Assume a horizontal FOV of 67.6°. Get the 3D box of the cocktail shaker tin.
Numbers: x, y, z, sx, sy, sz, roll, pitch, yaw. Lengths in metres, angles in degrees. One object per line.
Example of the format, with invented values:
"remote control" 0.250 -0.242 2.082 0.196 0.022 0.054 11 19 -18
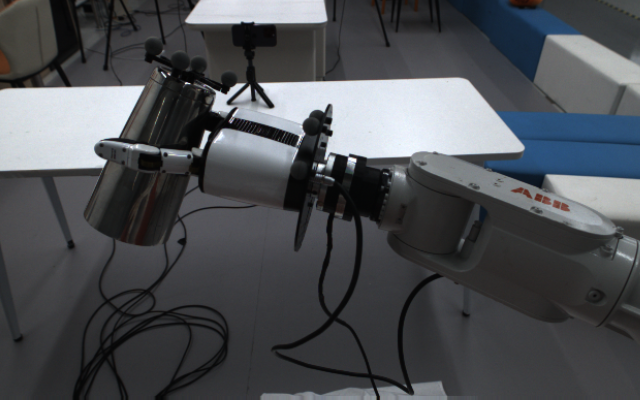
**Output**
"cocktail shaker tin" -0.171 -0.048 0.509 0.093 0.170 0.093 24 12 -6
